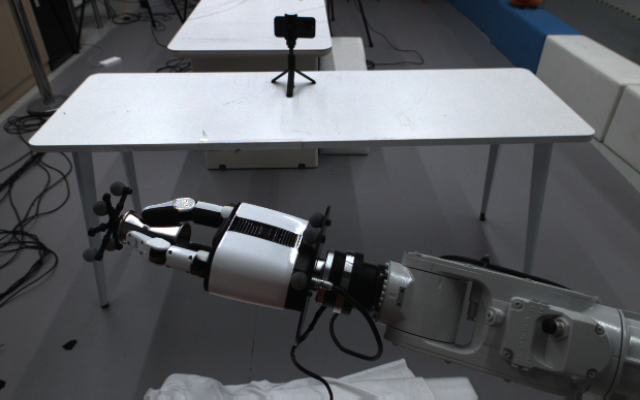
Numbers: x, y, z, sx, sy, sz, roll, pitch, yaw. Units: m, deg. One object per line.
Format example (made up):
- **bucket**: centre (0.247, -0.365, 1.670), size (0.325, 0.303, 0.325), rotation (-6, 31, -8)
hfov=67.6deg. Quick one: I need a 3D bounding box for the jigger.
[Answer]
- **jigger**: centre (-0.181, 0.037, 0.550), size (0.071, 0.043, 0.043), rotation (14, 36, 5)
